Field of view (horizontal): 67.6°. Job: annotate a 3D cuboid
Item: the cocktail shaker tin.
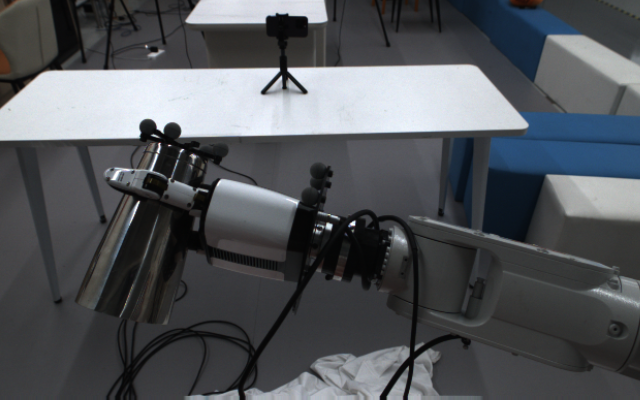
[{"bbox_3d":[-0.171,0.030,0.500,0.093,0.093,0.170,13,79,15],"label":"cocktail shaker tin"}]
